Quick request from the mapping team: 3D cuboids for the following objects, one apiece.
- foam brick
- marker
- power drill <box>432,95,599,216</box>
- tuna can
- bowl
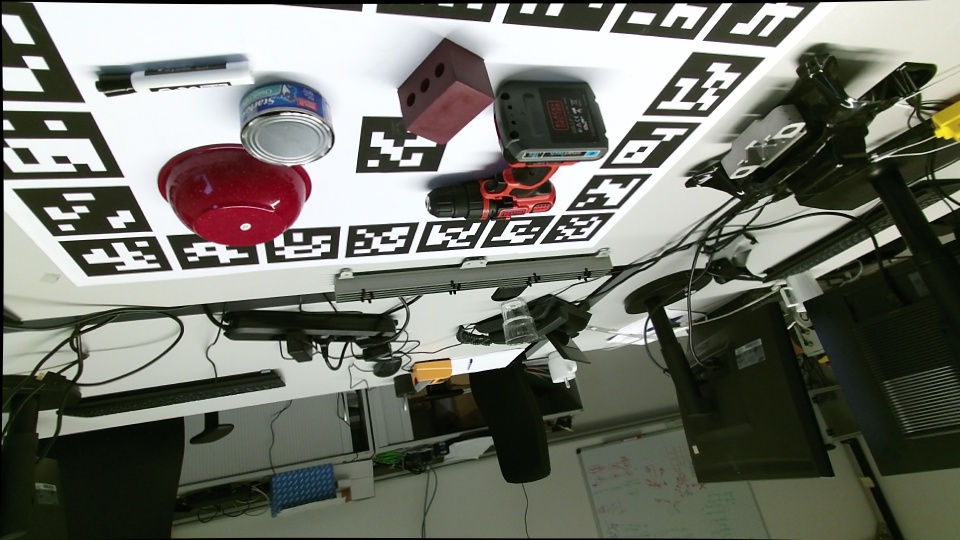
[{"bbox_3d":[-0.035,-0.171,0.511,0.051,0.052,0.078,9,147,-40],"label":"foam brick"},{"bbox_3d":[-0.257,-0.154,0.446,0.121,0.019,0.020,-9,155,-10],"label":"marker"},{"bbox_3d":[0.045,-0.127,0.644,0.185,0.057,0.187,-3,157,-17],"label":"power drill"},{"bbox_3d":[-0.188,-0.133,0.517,0.086,0.033,0.086,-10,156,-4],"label":"tuna can"},{"bbox_3d":[-0.269,-0.072,0.612,0.162,0.055,0.162,-13,164,-4],"label":"bowl"}]
